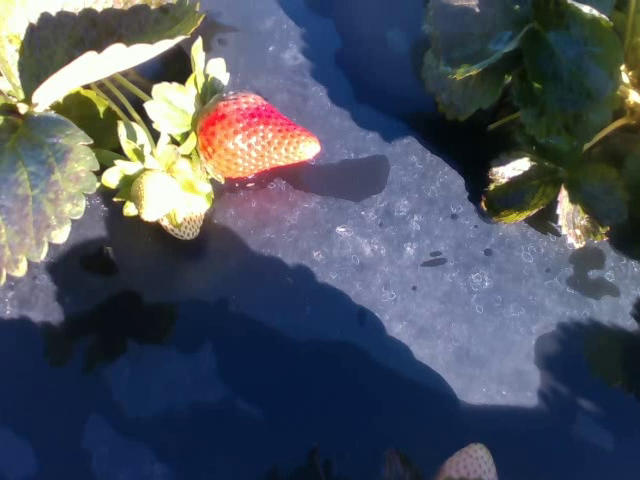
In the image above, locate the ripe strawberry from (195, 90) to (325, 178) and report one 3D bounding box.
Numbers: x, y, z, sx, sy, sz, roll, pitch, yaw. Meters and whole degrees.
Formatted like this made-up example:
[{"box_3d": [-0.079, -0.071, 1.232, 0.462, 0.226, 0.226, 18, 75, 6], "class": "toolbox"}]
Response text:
[{"box_3d": [-0.027, -0.046, 0.280, 0.064, 0.049, 0.052, 9, 13, 9], "class": "ripe strawberry"}]
